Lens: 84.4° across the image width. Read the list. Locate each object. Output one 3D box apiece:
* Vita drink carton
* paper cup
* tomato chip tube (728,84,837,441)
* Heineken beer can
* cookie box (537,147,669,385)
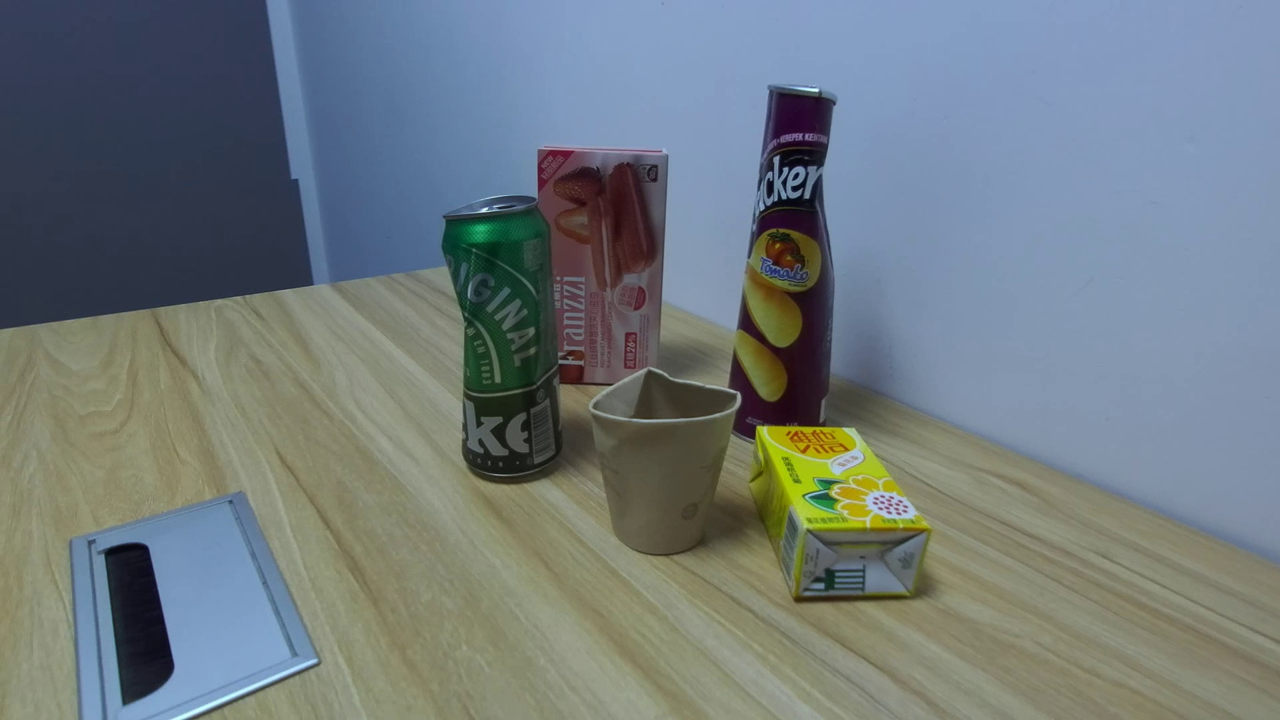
[{"bbox_3d":[0.105,0.080,0.394,0.067,0.043,0.108,2,22,-5],"label":"Vita drink carton"},{"bbox_3d":[0.012,0.057,0.384,0.071,0.084,0.066,14,26,27],"label":"paper cup"},{"bbox_3d":[0.105,-0.060,0.479,0.078,0.235,0.076,-13,27,-34],"label":"tomato chip tube"},{"bbox_3d":[-0.084,-0.011,0.439,0.069,0.168,0.069,-16,24,-33],"label":"Heineken beer can"},{"bbox_3d":[-0.029,-0.072,0.561,0.096,0.184,0.048,2,21,0],"label":"cookie box"}]
